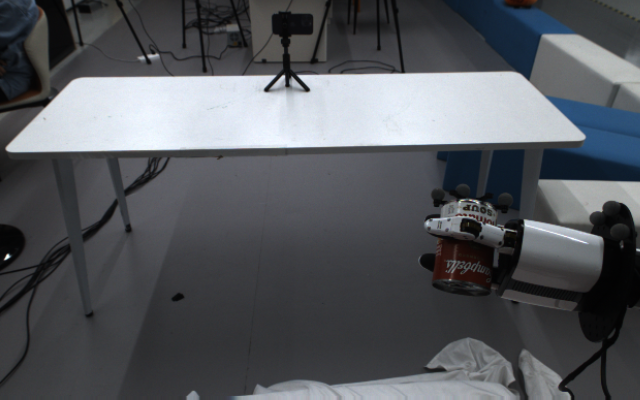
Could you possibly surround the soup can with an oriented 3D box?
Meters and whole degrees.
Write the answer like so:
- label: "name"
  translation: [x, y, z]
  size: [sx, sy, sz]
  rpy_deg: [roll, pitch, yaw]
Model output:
- label: "soup can"
  translation: [0.175, 0.057, 0.578]
  size: [0.067, 0.067, 0.101]
  rpy_deg: [9, 70, 10]
